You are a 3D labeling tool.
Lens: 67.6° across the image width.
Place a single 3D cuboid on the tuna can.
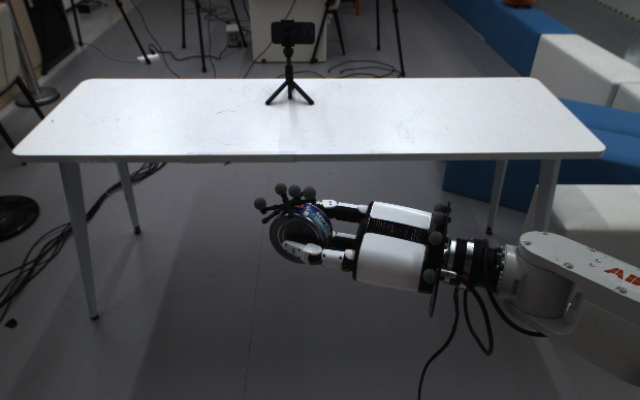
[{"bbox_3d":[-0.026,0.046,0.683,0.085,0.085,0.034,11,34,13],"label":"tuna can"}]
